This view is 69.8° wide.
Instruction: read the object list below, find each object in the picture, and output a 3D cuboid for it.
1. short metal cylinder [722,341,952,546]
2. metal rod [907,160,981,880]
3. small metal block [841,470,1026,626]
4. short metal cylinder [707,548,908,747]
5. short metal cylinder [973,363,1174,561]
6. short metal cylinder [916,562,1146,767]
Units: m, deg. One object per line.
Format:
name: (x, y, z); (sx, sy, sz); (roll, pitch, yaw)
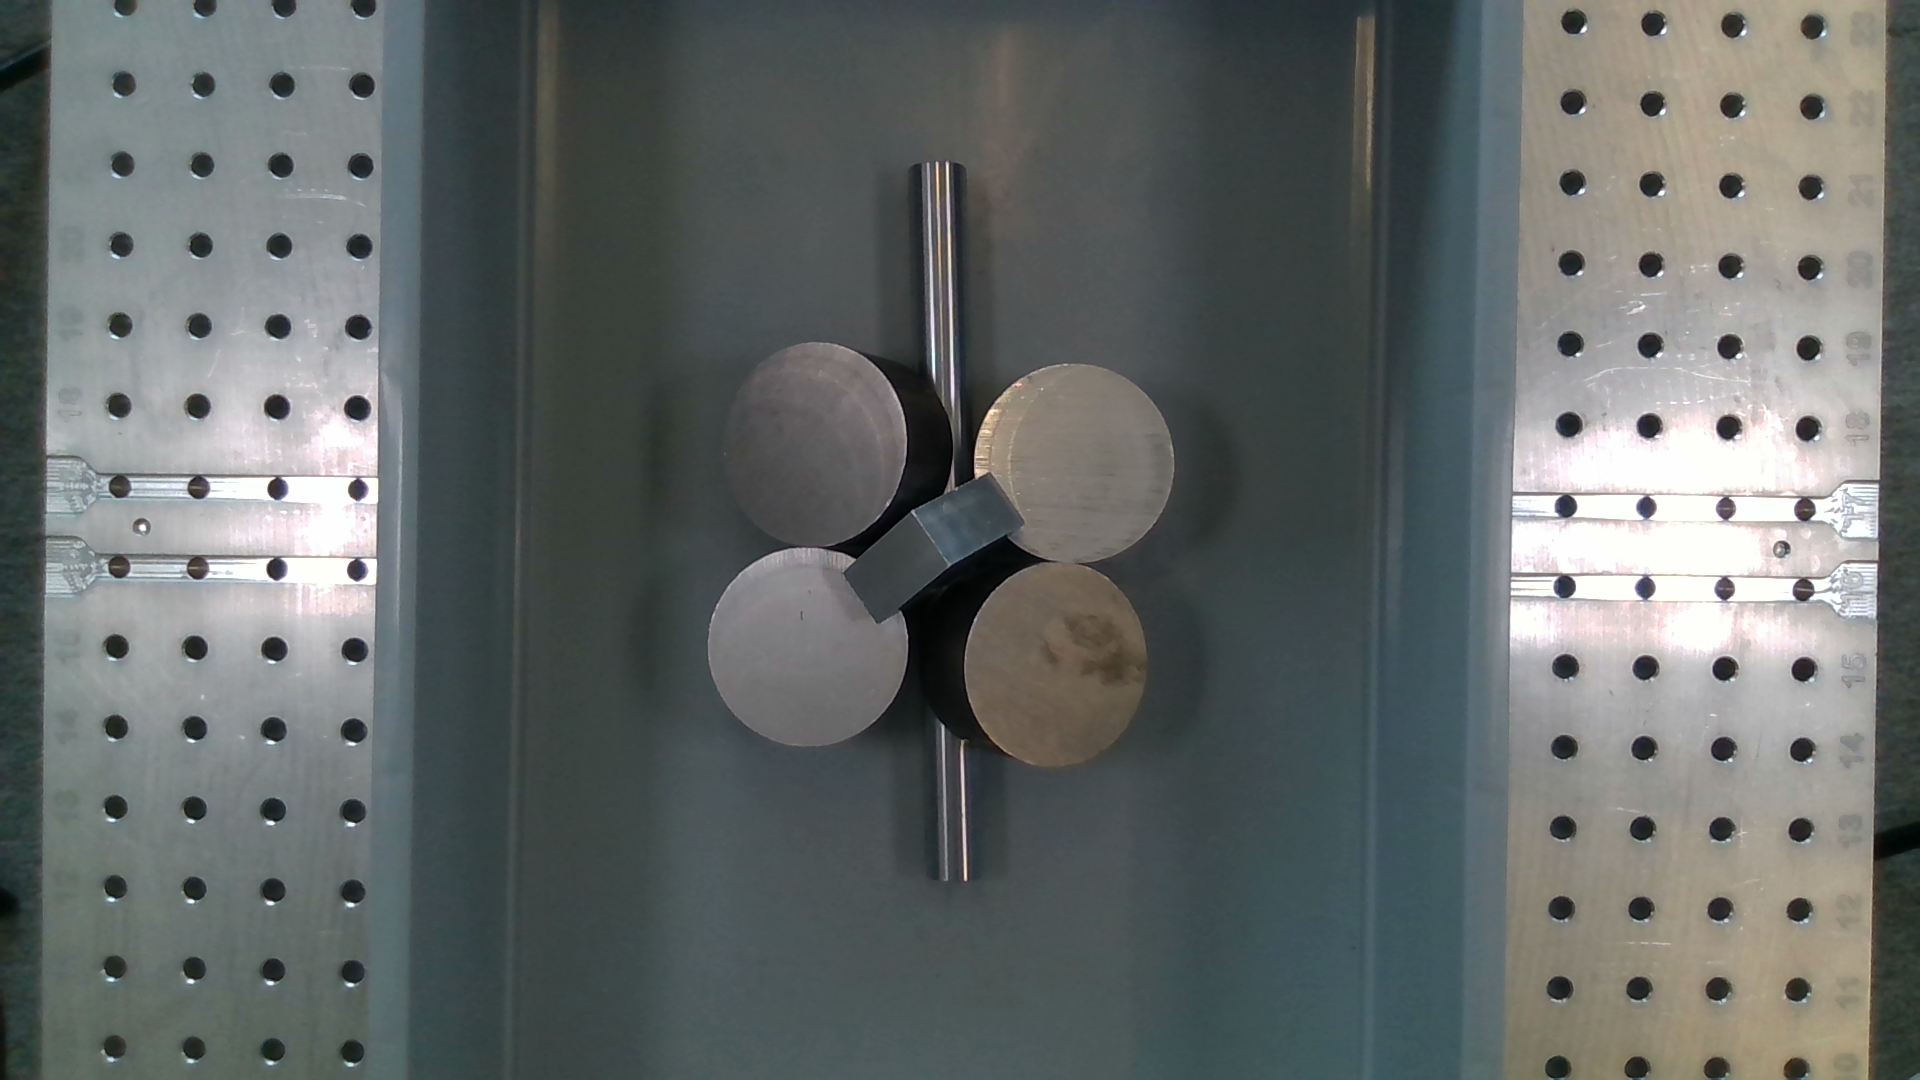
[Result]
short metal cylinder: (-0.049, -0.038, 0.561); (0.080, 0.050, 0.080); (0, 91, 20)
metal rod: (-0.006, -0.008, 0.586); (0.025, 0.025, 0.300); (-1, 91, 0)
small metal block: (-0.010, 0.003, 0.538); (0.025, 0.050, 0.050); (55, 132, 5)
short metal cylinder: (-0.061, 0.043, 0.574); (0.080, 0.050, 0.080); (0, 90, 0)
short metal cylinder: (0.045, -0.031, 0.573); (0.080, 0.050, 0.080); (0, 90, 0)
short metal cylinder: (0.028, 0.049, 0.561); (0.080, 0.050, 0.080); (0, 90, -23)
